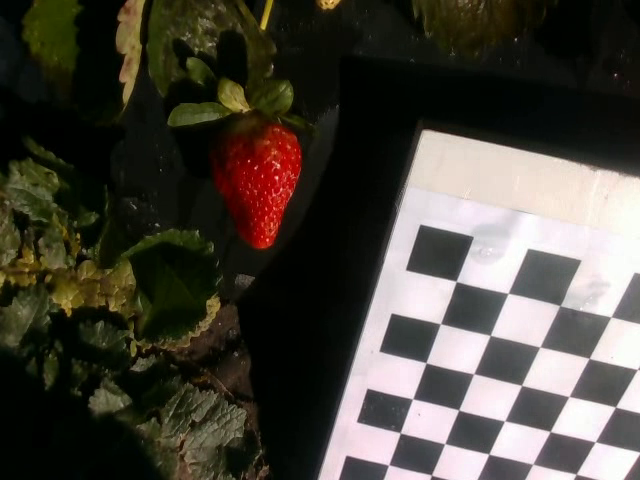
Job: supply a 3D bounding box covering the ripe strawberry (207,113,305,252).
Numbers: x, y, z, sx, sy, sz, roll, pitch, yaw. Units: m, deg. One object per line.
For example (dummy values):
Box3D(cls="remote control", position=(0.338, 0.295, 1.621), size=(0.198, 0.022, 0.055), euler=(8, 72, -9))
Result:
Box3D(cls="ripe strawberry", position=(-0.029, -0.024, 0.278), size=(0.048, 0.069, 0.040), euler=(-2, 20, 9))
